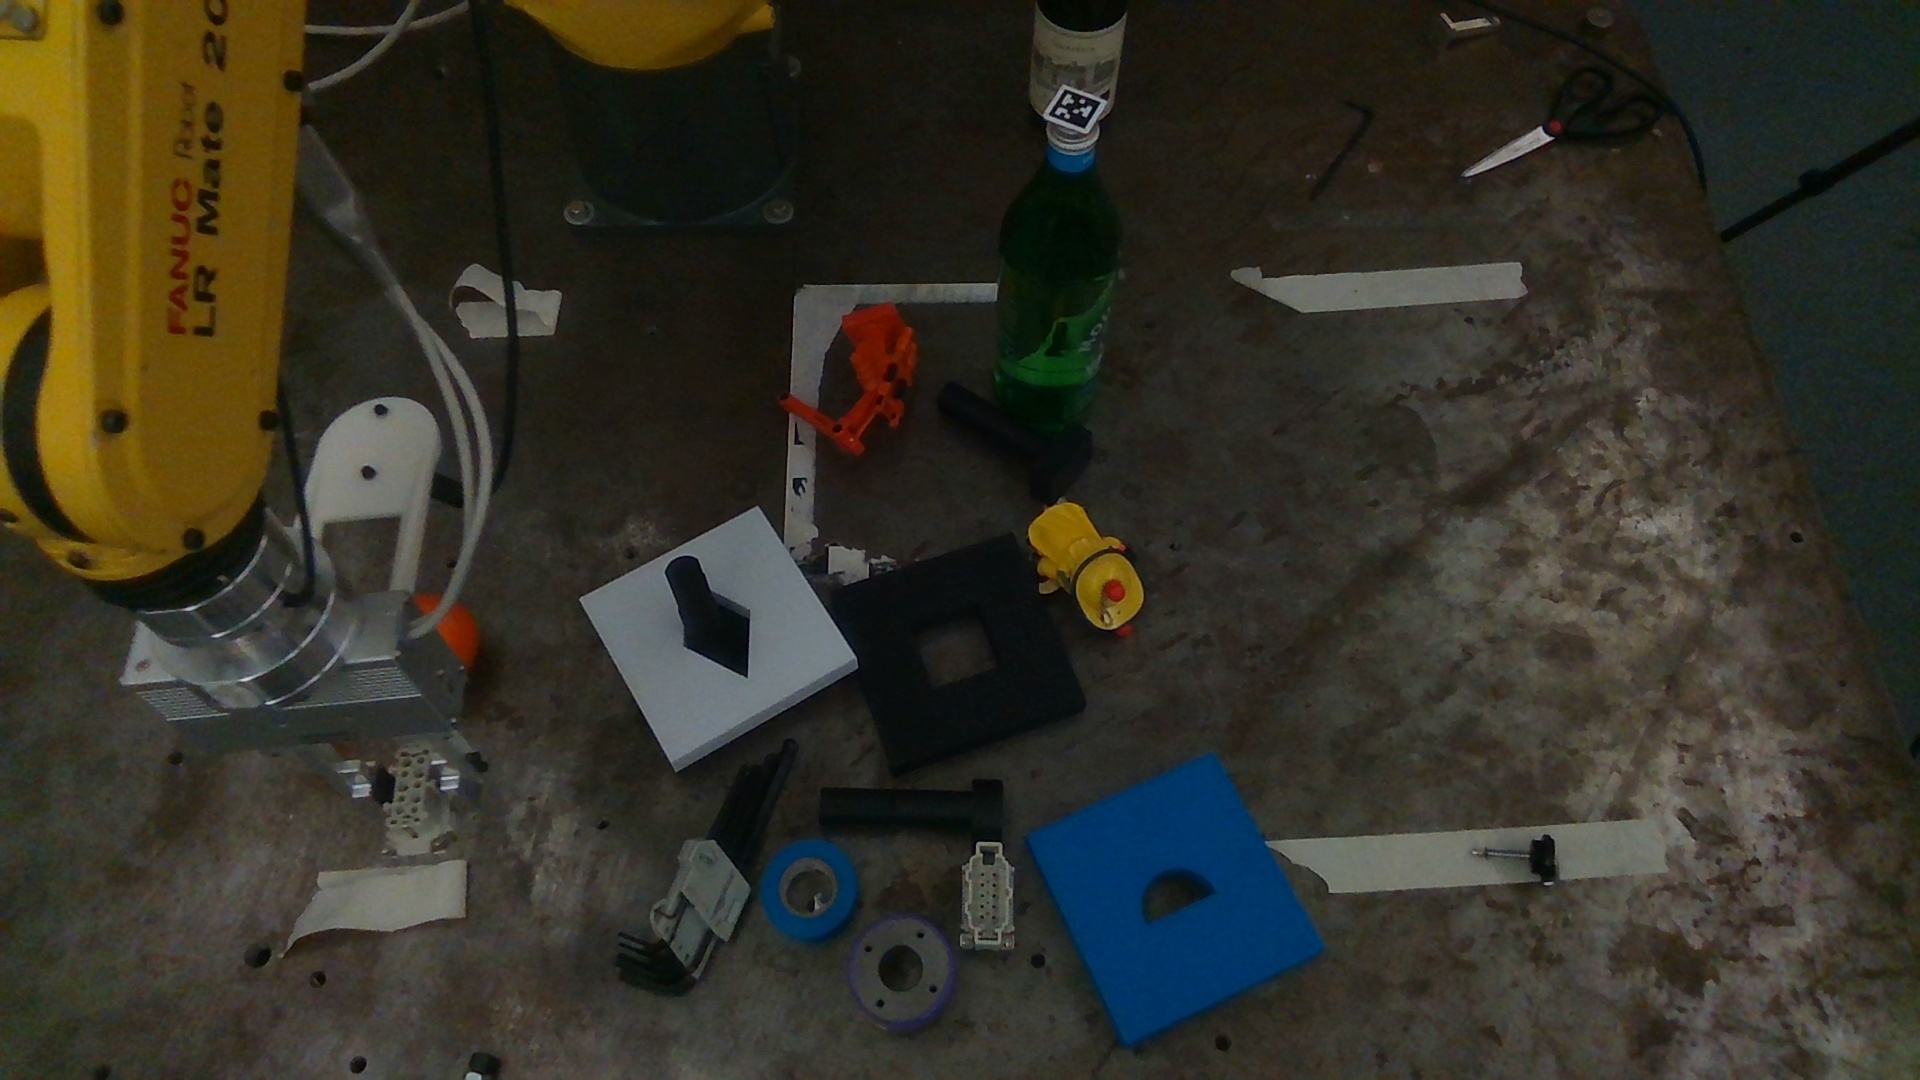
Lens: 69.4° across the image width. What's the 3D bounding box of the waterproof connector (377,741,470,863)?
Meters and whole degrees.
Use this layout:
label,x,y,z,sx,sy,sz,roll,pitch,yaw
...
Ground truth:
label,x,y,z,sx,sy,sz,roll,pitch,yaw
waterproof connector,-0.300,0.145,0.773,0.037,0.038,0.069,-10,53,7
